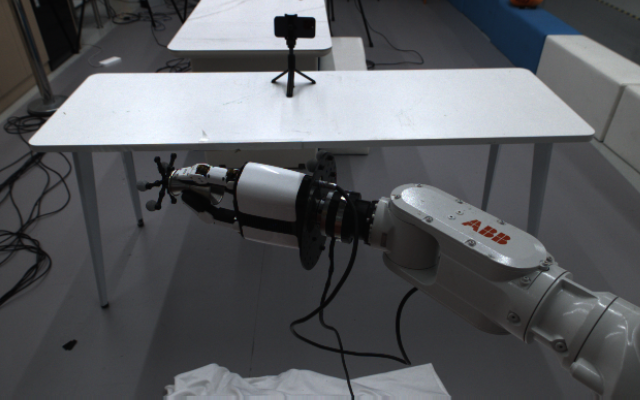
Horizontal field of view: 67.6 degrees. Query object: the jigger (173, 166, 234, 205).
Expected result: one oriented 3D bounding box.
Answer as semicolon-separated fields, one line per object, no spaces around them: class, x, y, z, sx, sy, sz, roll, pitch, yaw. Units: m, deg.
jigger;-0.171;-0.024;0.692;0.071;0.043;0.043;9;35;16
